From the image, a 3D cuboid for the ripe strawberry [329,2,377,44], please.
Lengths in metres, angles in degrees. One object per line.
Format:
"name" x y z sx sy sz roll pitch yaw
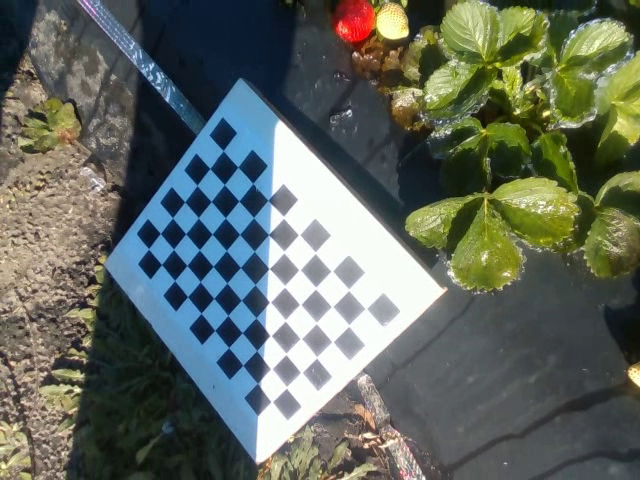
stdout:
"ripe strawberry" 0.025 -0.181 0.517 0.040 0.042 0.053 10 35 20
